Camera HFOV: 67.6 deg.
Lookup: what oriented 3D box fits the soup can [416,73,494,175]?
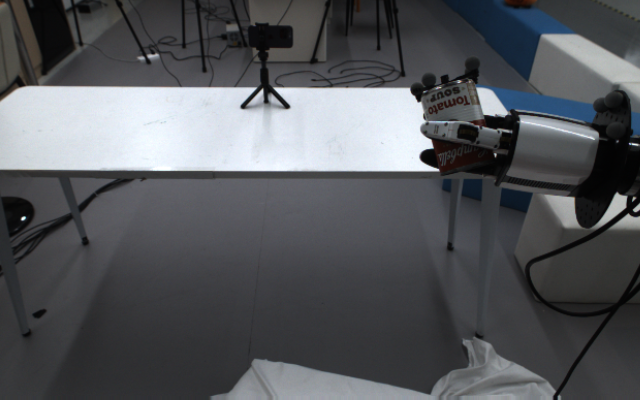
[{"bbox_3d":[0.168,-0.088,0.592,0.067,0.101,0.067,-14,-2,-1],"label":"soup can"}]
